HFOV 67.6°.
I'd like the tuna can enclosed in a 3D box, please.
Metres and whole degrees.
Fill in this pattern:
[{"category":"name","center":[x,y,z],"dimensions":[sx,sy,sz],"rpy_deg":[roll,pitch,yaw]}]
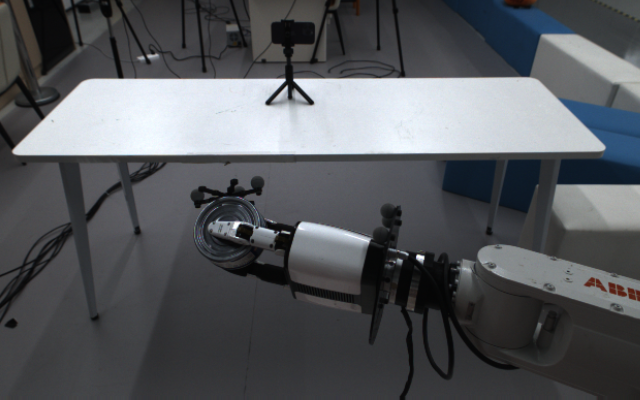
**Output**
[{"category":"tuna can","center":[-0.105,0.044,0.586],"dimensions":[0.085,0.034,0.085],"rpy_deg":[-4,68,9]}]
